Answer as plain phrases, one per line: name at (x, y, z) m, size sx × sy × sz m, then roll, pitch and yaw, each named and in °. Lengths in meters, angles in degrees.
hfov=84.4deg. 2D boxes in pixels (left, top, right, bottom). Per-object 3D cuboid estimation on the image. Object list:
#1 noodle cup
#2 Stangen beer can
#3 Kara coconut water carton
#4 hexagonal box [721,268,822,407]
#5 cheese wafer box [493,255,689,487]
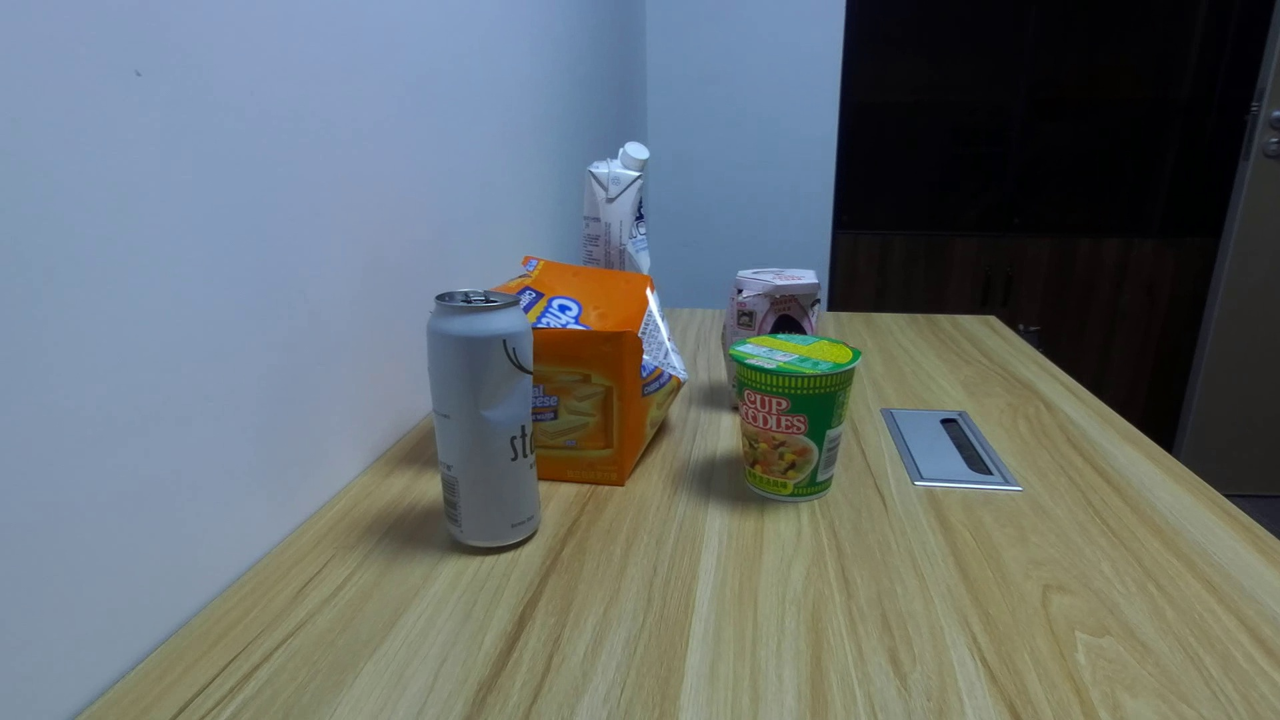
noodle cup at (0.116, 0.045, 0.539) m, size 0.097 × 0.110 × 0.097 m, roll -1°, pitch 17°, yaw 1°
Stangen beer can at (-0.101, 0.039, 0.476) m, size 0.069 × 0.173 × 0.070 m, roll 2°, pitch 16°, yaw 9°
Kara coconut water carton at (-0.028, -0.113, 0.797) m, size 0.078 × 0.255 × 0.083 m, roll 5°, pitch 17°, yaw 11°
hexagonal box at (0.130, -0.020, 0.704) m, size 0.091 × 0.134 × 0.090 m, roll 5°, pitch 16°, yaw 19°
cheese wafer box at (-0.052, -0.003, 0.645) m, size 0.191 × 0.145 × 0.219 m, roll 2°, pitch 18°, yaw 9°
